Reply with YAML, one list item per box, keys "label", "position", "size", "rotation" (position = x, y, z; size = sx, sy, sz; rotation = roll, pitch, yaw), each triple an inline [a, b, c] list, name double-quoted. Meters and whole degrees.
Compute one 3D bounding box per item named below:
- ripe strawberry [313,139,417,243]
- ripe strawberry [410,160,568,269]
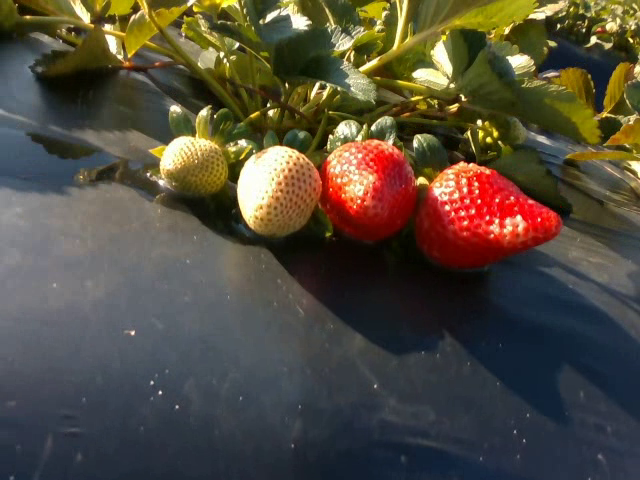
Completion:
- label: "ripe strawberry"
  position: [0.019, -0.020, 0.228]
  size: [0.050, 0.044, 0.061]
  rotation: [40, 16, -5]
- label: "ripe strawberry"
  position: [0.071, -0.008, 0.237]
  size: [0.056, 0.052, 0.067]
  rotation: [-35, 31, -29]
